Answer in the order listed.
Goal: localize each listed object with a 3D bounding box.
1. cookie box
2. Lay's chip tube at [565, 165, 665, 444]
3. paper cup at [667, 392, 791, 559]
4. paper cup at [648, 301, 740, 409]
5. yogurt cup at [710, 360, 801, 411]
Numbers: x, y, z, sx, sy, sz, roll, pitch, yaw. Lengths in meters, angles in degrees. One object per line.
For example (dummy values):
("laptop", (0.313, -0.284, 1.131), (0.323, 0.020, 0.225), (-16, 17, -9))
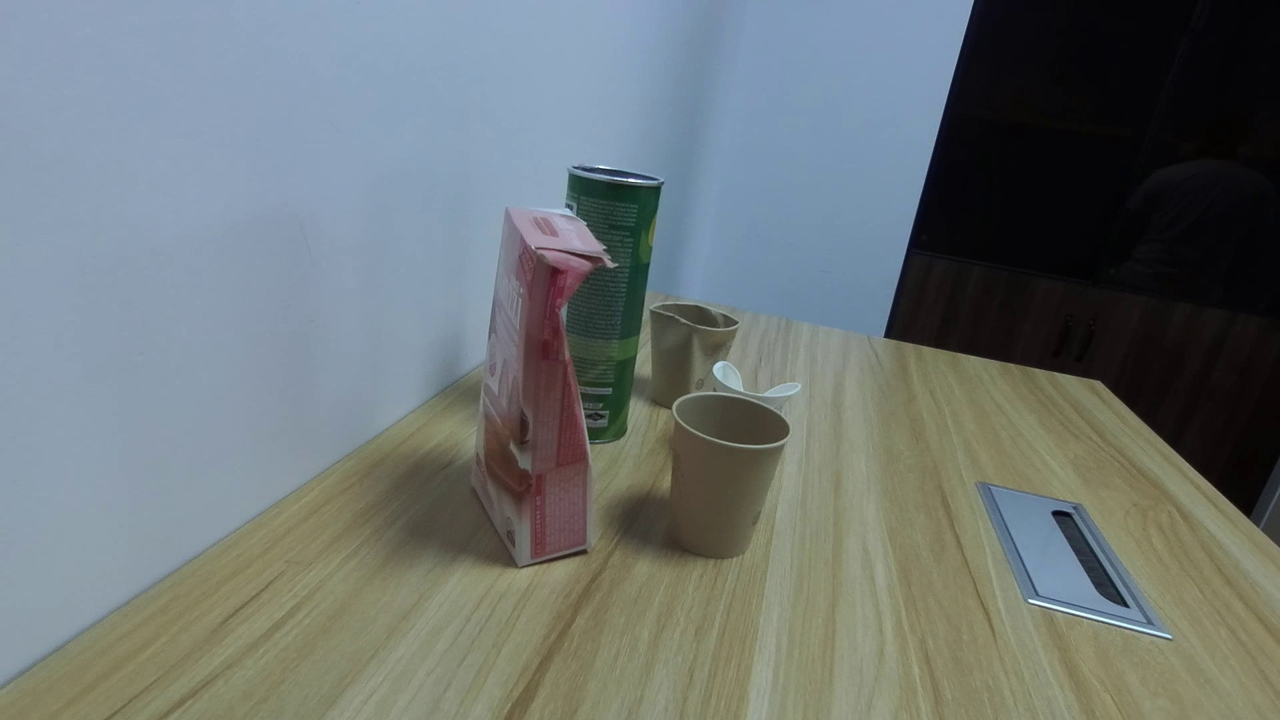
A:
("cookie box", (-0.056, 0.014, 0.408), (0.056, 0.184, 0.118), (0, 22, -23))
("Lay's chip tube", (-0.031, -0.042, 0.541), (0.071, 0.202, 0.071), (8, 20, -3))
("paper cup", (0.049, 0.073, 0.437), (0.075, 0.082, 0.075), (8, 19, -3))
("paper cup", (0.043, -0.003, 0.638), (0.066, 0.084, 0.071), (-10, 28, -44))
("yogurt cup", (0.081, 0.044, 0.537), (0.067, 0.070, 0.067), (10, 22, -4))
